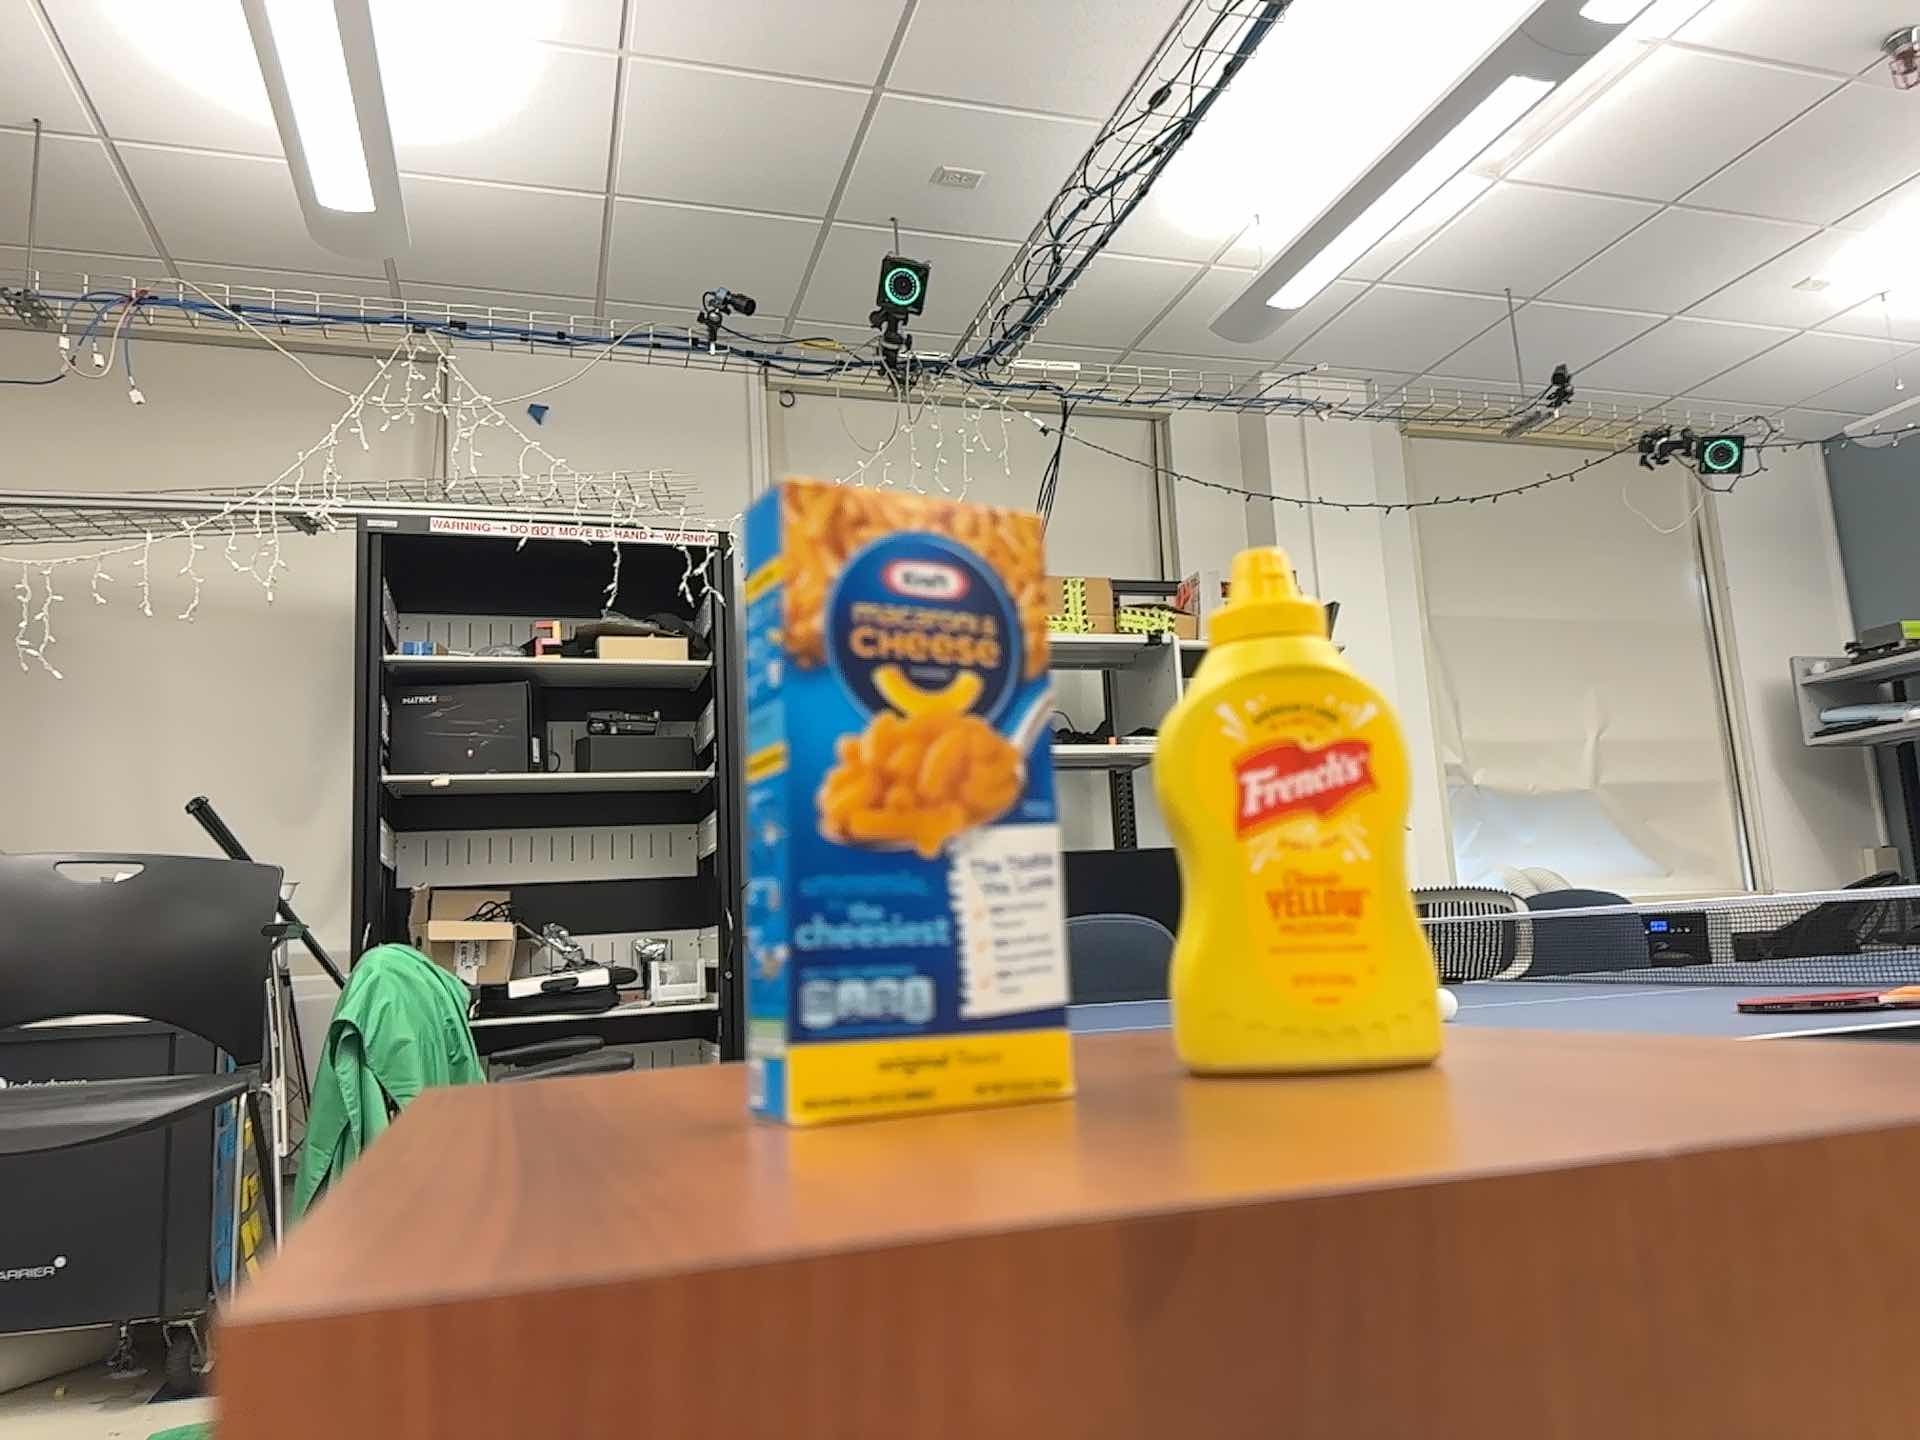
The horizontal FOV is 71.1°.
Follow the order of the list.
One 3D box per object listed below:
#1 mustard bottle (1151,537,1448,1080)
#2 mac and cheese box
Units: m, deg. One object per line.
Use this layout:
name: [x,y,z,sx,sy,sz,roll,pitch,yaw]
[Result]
mustard bottle: [0.111,0.026,0.462,0.092,0.184,0.054,-3,-9,0]
mac and cheese box: [-0.020,0.022,0.406,0.088,0.181,0.035,2,-10,-23]
